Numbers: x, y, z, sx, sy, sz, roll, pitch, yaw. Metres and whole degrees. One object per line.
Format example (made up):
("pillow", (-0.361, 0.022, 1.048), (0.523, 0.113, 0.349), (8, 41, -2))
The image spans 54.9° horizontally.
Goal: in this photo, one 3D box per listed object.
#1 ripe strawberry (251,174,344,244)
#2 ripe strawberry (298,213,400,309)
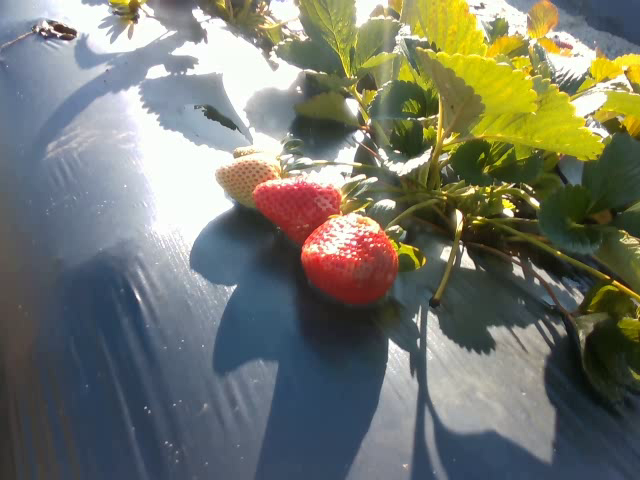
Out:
("ripe strawberry", (-0.012, -0.020, 0.333), (0.061, 0.051, 0.044), (13, -38, -25))
("ripe strawberry", (0.012, 0.010, 0.296), (0.056, 0.052, 0.067), (0, 3, 21))
